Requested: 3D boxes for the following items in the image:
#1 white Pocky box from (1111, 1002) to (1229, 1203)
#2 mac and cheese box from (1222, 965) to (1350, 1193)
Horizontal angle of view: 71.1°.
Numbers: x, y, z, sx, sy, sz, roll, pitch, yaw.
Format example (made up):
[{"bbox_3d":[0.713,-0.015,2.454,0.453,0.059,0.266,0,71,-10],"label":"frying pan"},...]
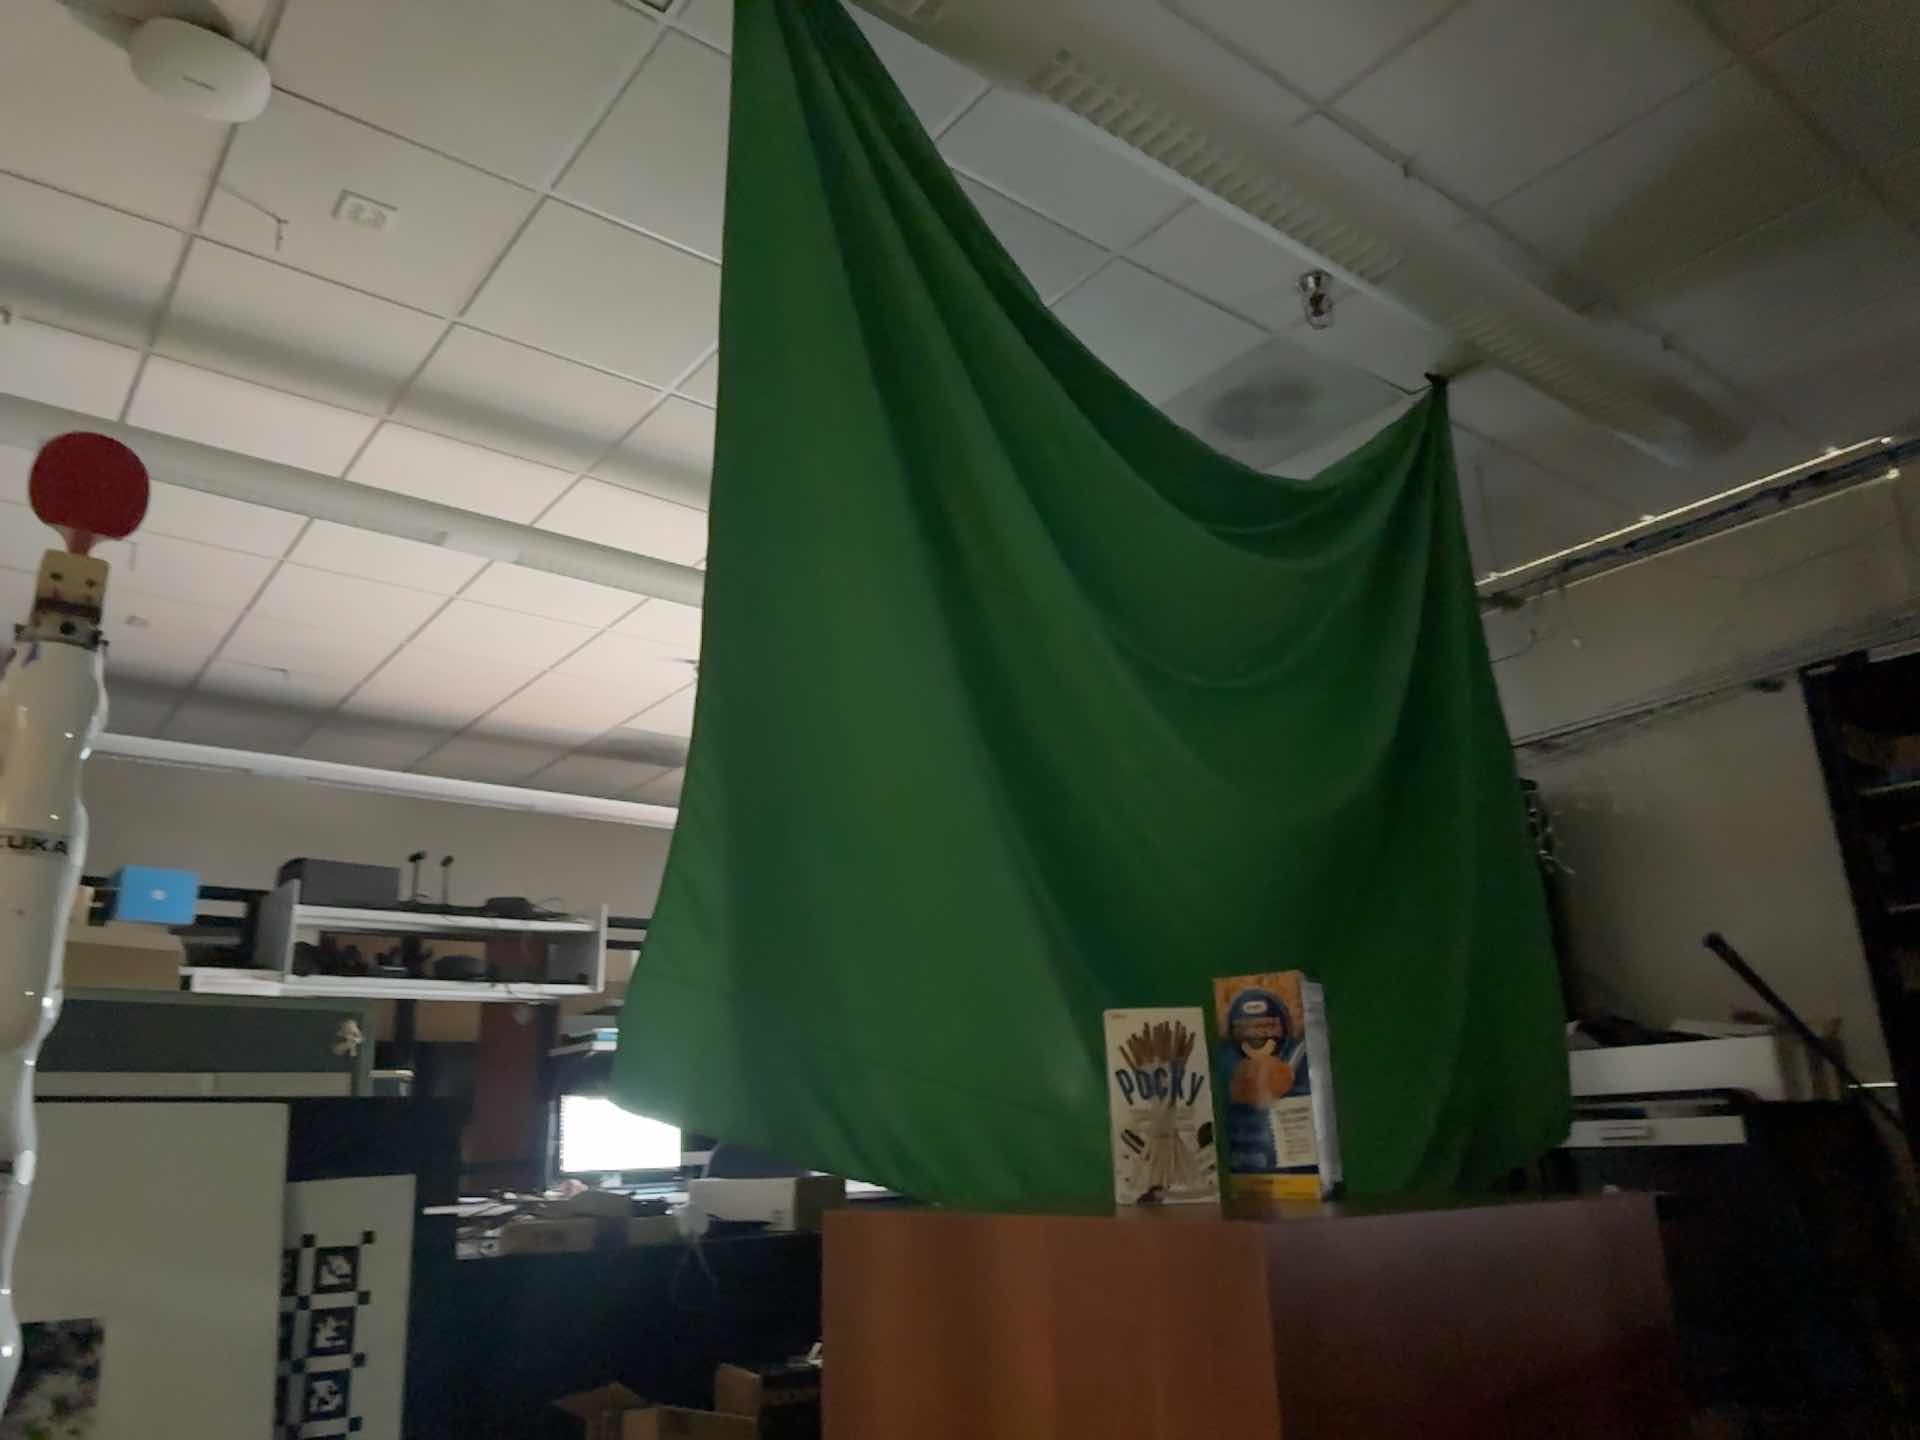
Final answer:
[{"bbox_3d":[0.168,0.308,1.084,0.084,0.154,0.028,-2,-16,2],"label":"white Pocky box"},{"bbox_3d":[0.276,0.307,1.150,0.035,0.181,0.088,14,-23,-42],"label":"mac and cheese box"}]
